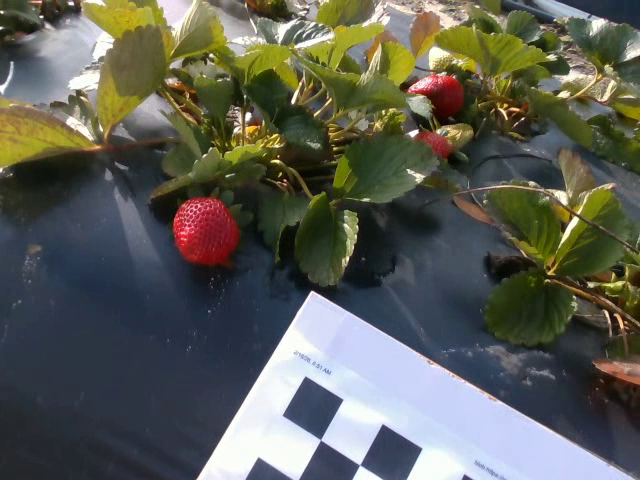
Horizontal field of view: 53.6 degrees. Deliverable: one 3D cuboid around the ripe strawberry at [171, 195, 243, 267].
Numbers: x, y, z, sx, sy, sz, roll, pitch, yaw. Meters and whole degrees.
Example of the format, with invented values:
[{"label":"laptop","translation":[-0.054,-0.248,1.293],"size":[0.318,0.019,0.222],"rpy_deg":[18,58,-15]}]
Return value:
[{"label":"ripe strawberry","translation":[-0.058,-0.003,0.305],"size":[0.041,0.041,0.047],"rpy_deg":[-2,19,15]}]
